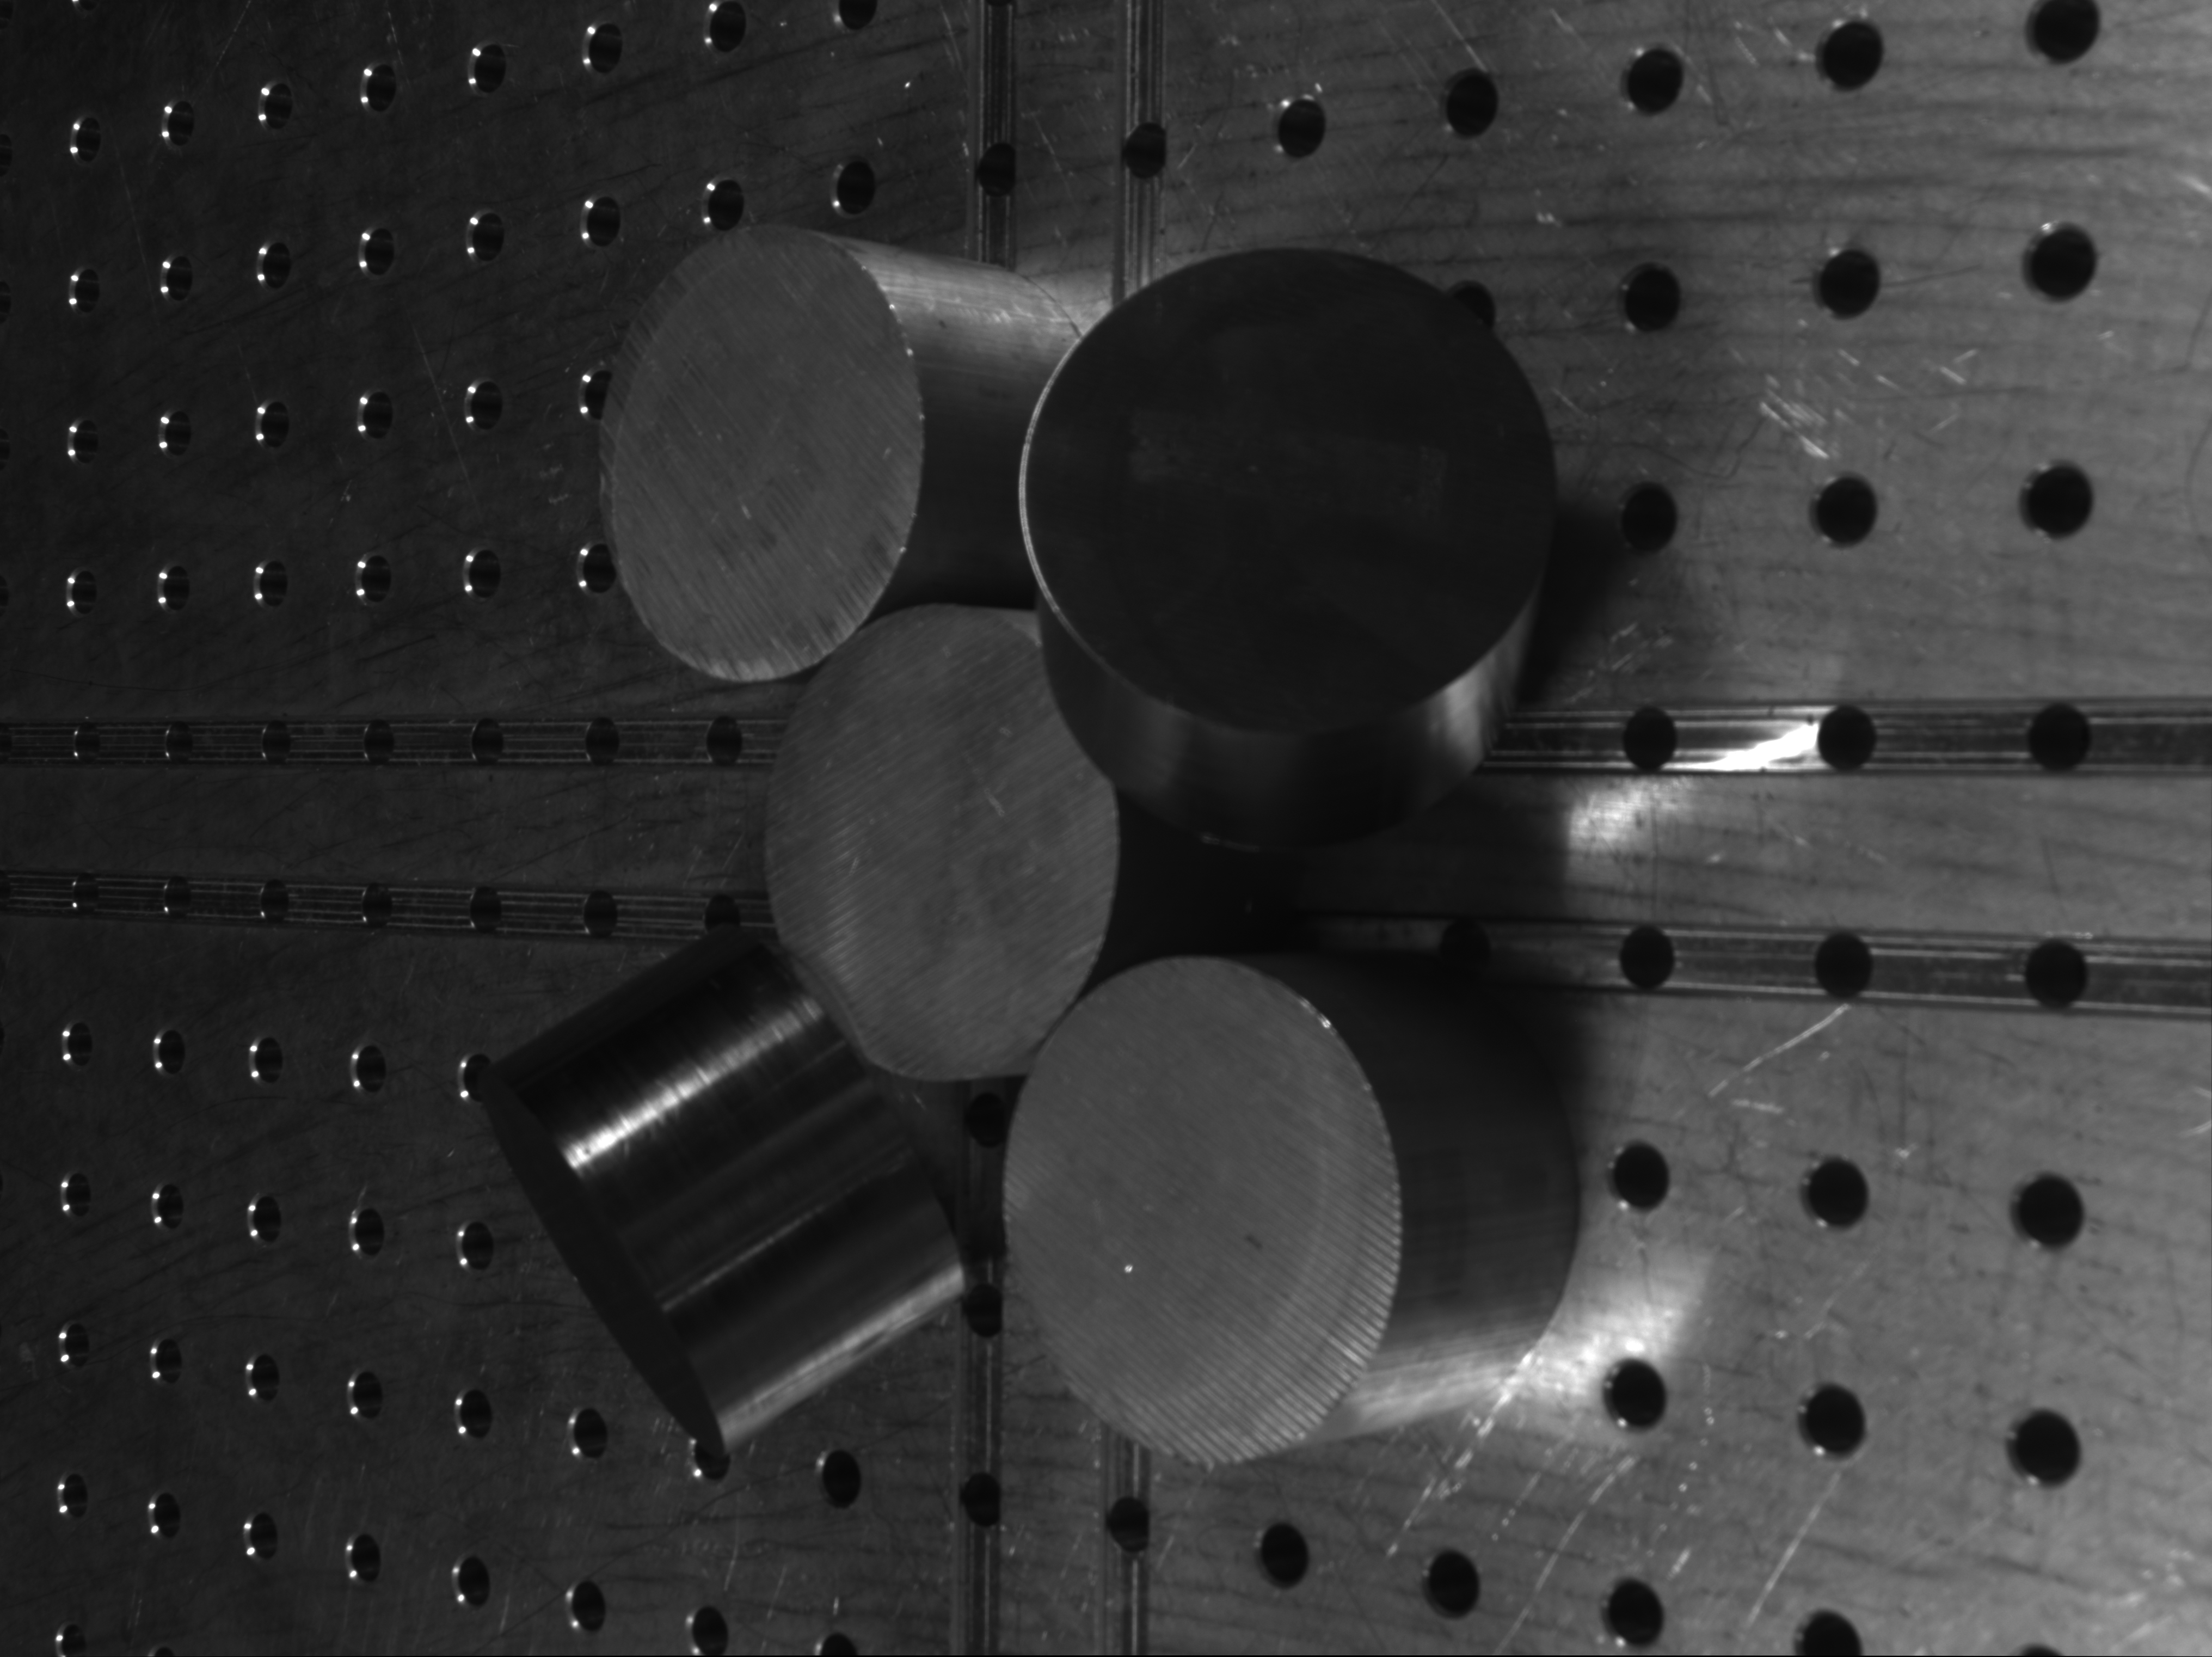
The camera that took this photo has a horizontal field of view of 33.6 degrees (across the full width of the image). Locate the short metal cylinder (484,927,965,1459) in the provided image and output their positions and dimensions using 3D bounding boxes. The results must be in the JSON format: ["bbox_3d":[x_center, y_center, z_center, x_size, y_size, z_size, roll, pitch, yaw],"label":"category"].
[{"bbox_3d":[-0.069,0.065,0.652,0.080,0.050,0.080,50,161,25],"label":"short metal cylinder"}]

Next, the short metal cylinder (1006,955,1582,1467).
[{"bbox_3d":[0.030,0.061,0.598,0.080,0.050,0.080,0,90,39],"label":"short metal cylinder"}]

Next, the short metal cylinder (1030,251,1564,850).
[{"bbox_3d":[0.030,-0.043,0.573,0.080,0.050,0.080,-1,70,2],"label":"short metal cylinder"}]

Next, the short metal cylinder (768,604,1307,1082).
[{"bbox_3d":[-0.012,0.002,0.633,0.080,0.050,0.080,0,90,39],"label":"short metal cylinder"}]

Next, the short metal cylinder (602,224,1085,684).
[{"bbox_3d":[-0.045,-0.065,0.660,0.080,0.050,0.080,0,90,39],"label":"short metal cylinder"}]
